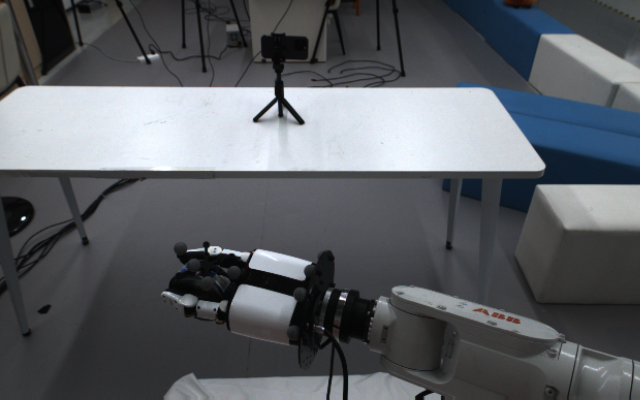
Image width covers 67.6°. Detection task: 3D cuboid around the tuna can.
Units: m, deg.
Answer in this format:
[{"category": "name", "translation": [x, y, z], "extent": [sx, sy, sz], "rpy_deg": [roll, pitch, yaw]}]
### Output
[{"category": "tuna can", "translation": [-0.160, 0.125, 0.671], "extent": [0.085, 0.085, 0.034], "rpy_deg": [12, 33, 14]}]
